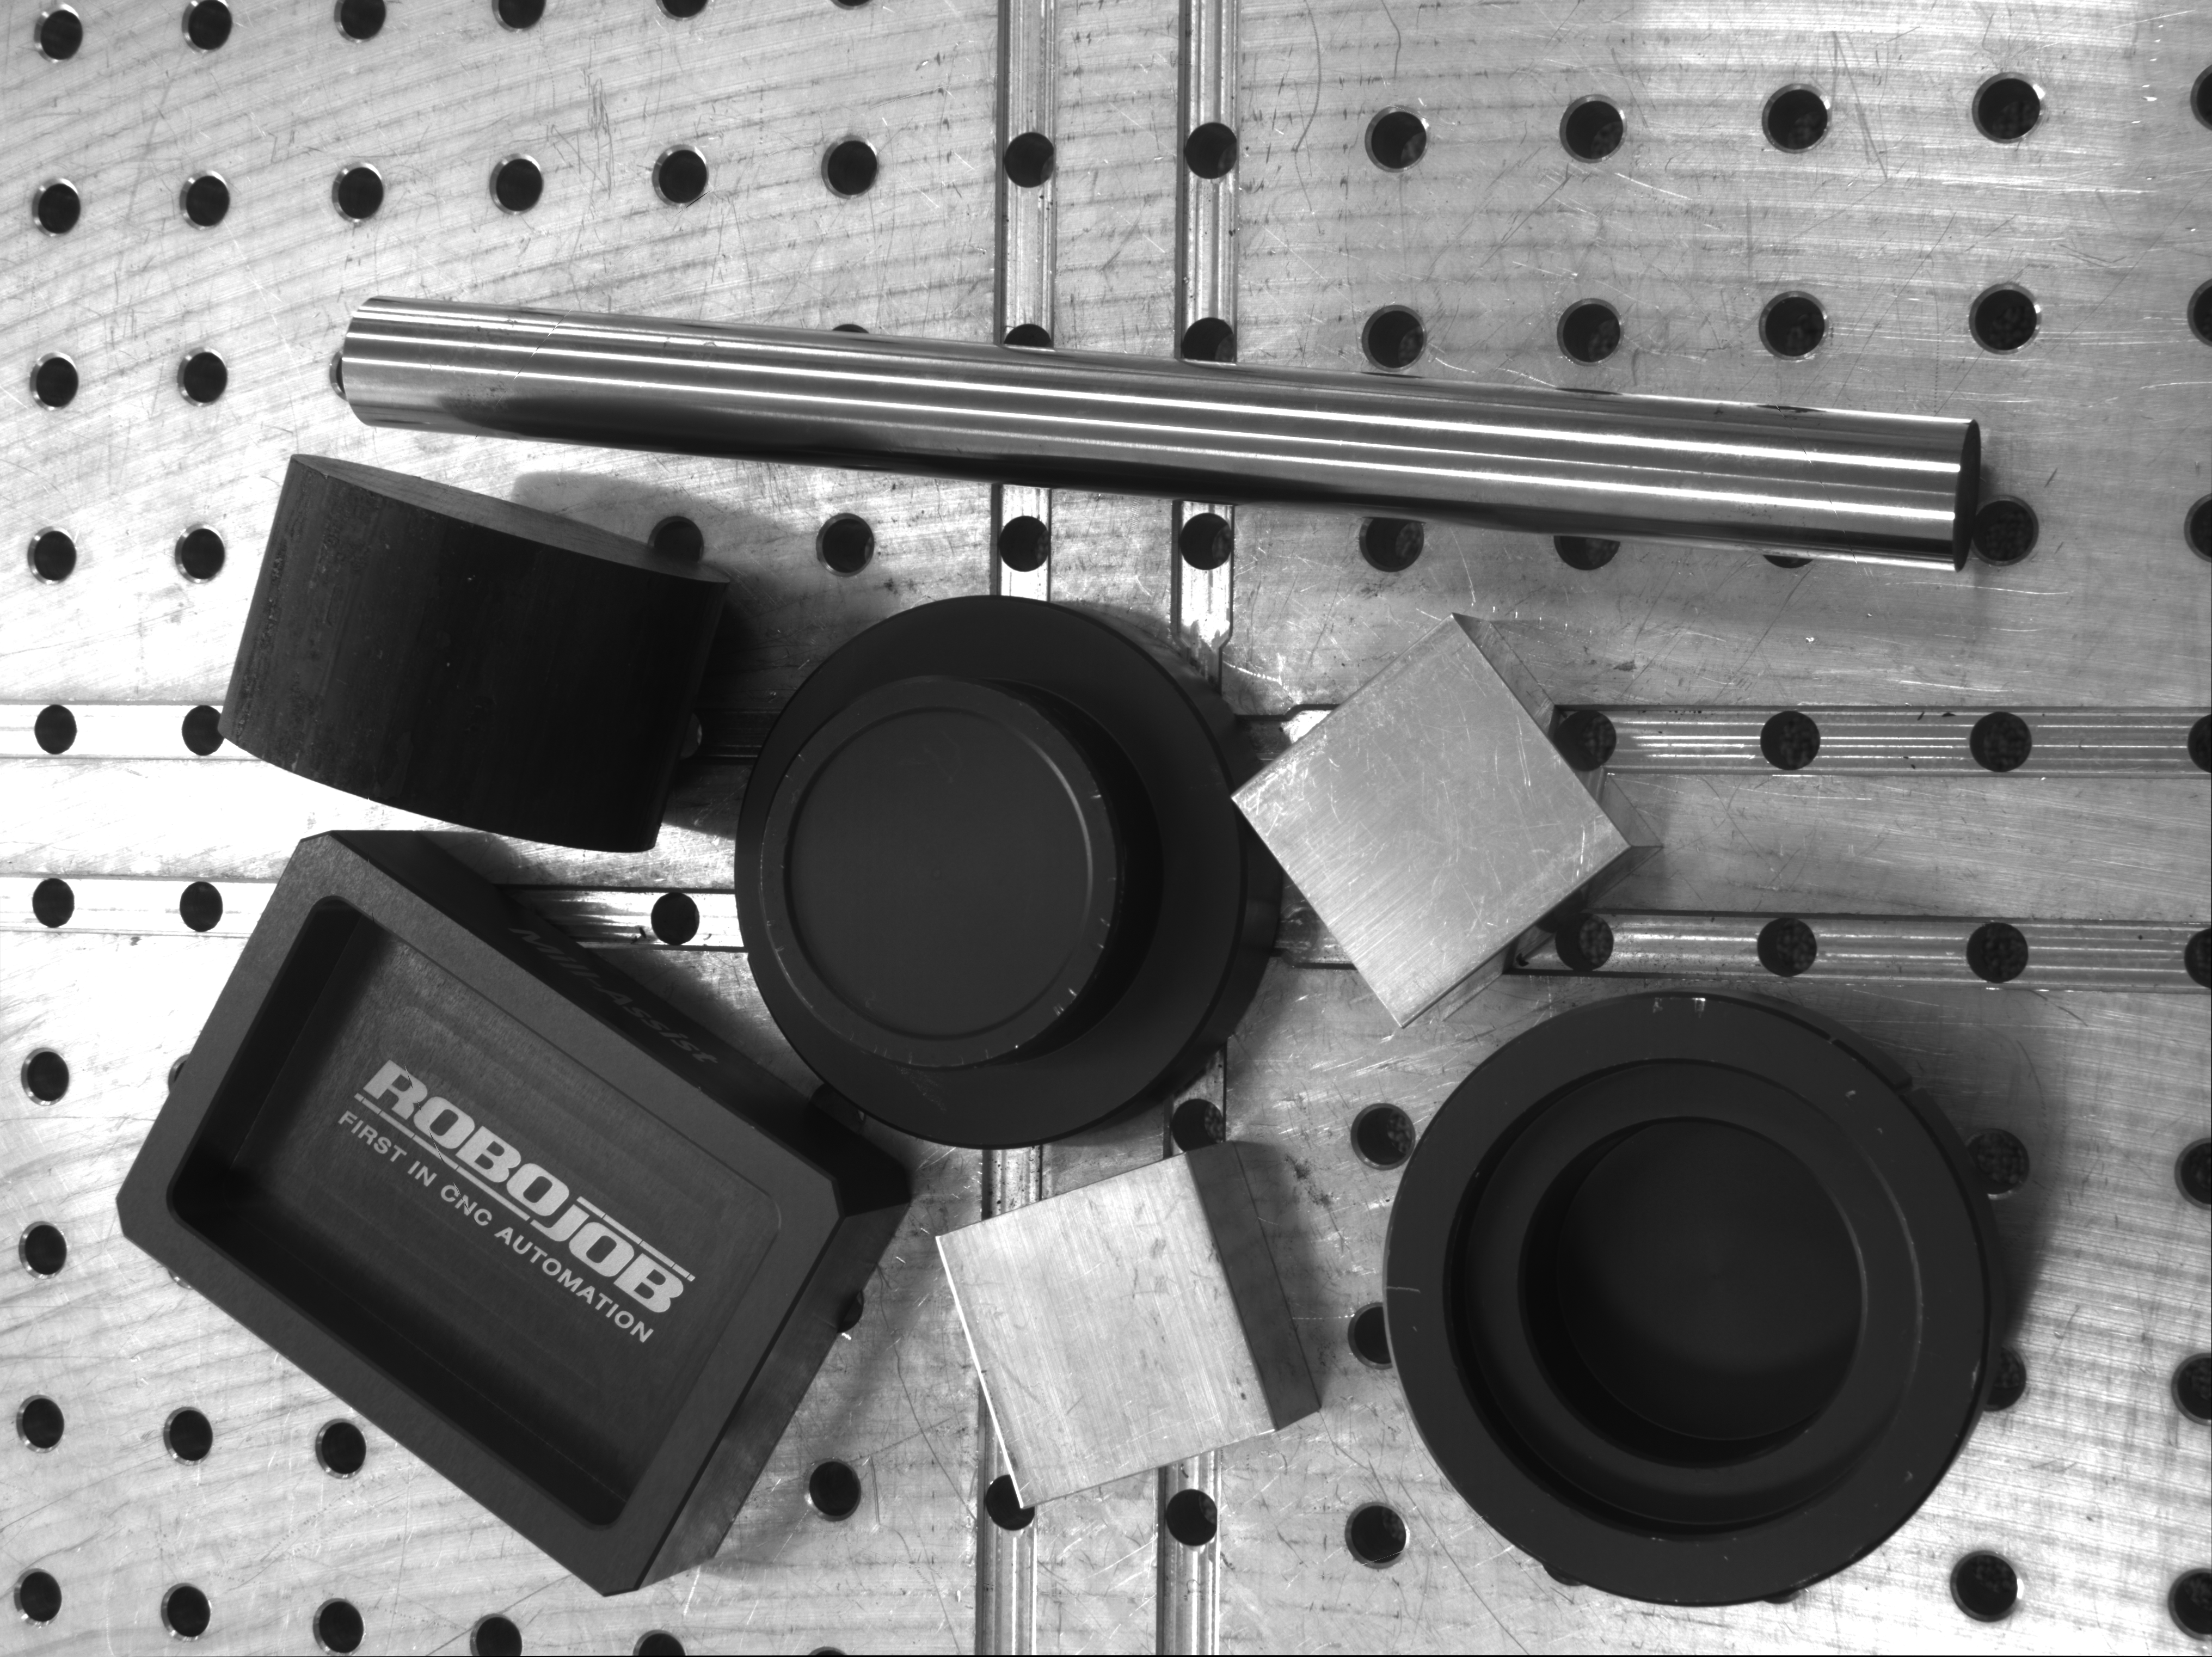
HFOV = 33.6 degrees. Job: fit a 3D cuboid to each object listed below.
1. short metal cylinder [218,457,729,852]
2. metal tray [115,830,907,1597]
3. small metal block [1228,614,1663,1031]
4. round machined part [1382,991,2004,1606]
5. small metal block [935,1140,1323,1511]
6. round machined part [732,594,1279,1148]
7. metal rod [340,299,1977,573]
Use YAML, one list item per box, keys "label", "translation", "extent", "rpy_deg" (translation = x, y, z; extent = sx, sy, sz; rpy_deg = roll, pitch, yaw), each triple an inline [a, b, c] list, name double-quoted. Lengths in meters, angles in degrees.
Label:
- label: "short metal cylinder"
  translation: [-0.114, -0.032, 0.660]
  extent: [0.080, 0.080, 0.050]
  rpy_deg: [19, 96, 19]
- label: "metal tray"
  translation: [-0.113, 0.070, 0.686]
  extent: [0.130, 0.030, 0.090]
  rpy_deg: [32, 101, 17]
- label: "small metal block"
  translation: [0.058, -0.001, 0.628]
  extent: [0.050, 0.025, 0.050]
  rpy_deg: [-40, 77, 16]
- label: "round machined part"
  translation: [0.098, 0.075, 0.604]
  extent: [0.098, 0.042, 0.098]
  rpy_deg: [0, 90, 20]
- label: "small metal block"
  translation: [0.004, 0.087, 0.647]
  extent: [0.050, 0.025, 0.050]
  rpy_deg: [-20, 83, 19]
- label: "round machined part"
  translation: [-0.022, 0.007, 0.647]
  extent: [0.098, 0.042, 0.098]
  rpy_deg: [-1, 87, 20]
- label: "metal rod"
  translation: [0.001, -0.071, 0.648]
  extent: [0.299, 0.025, 0.025]
  rpy_deg: [7, 92, 20]
